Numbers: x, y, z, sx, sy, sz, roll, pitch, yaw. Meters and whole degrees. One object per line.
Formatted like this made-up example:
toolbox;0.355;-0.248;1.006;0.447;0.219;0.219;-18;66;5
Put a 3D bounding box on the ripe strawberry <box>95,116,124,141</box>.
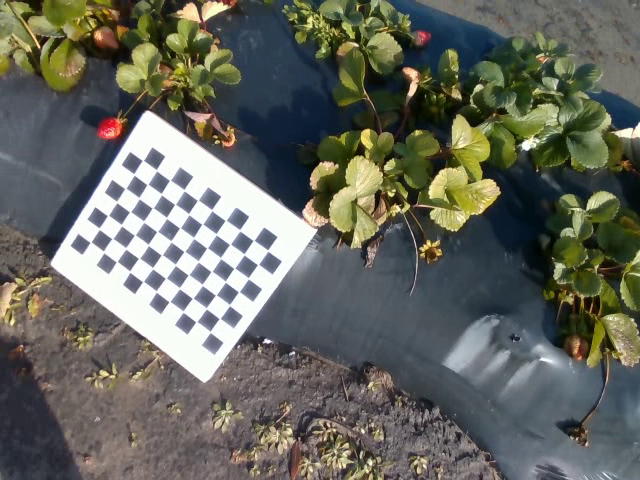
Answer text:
ripe strawberry;-0.260;-0.138;0.955;0.034;0.033;0.038;35;45;10
